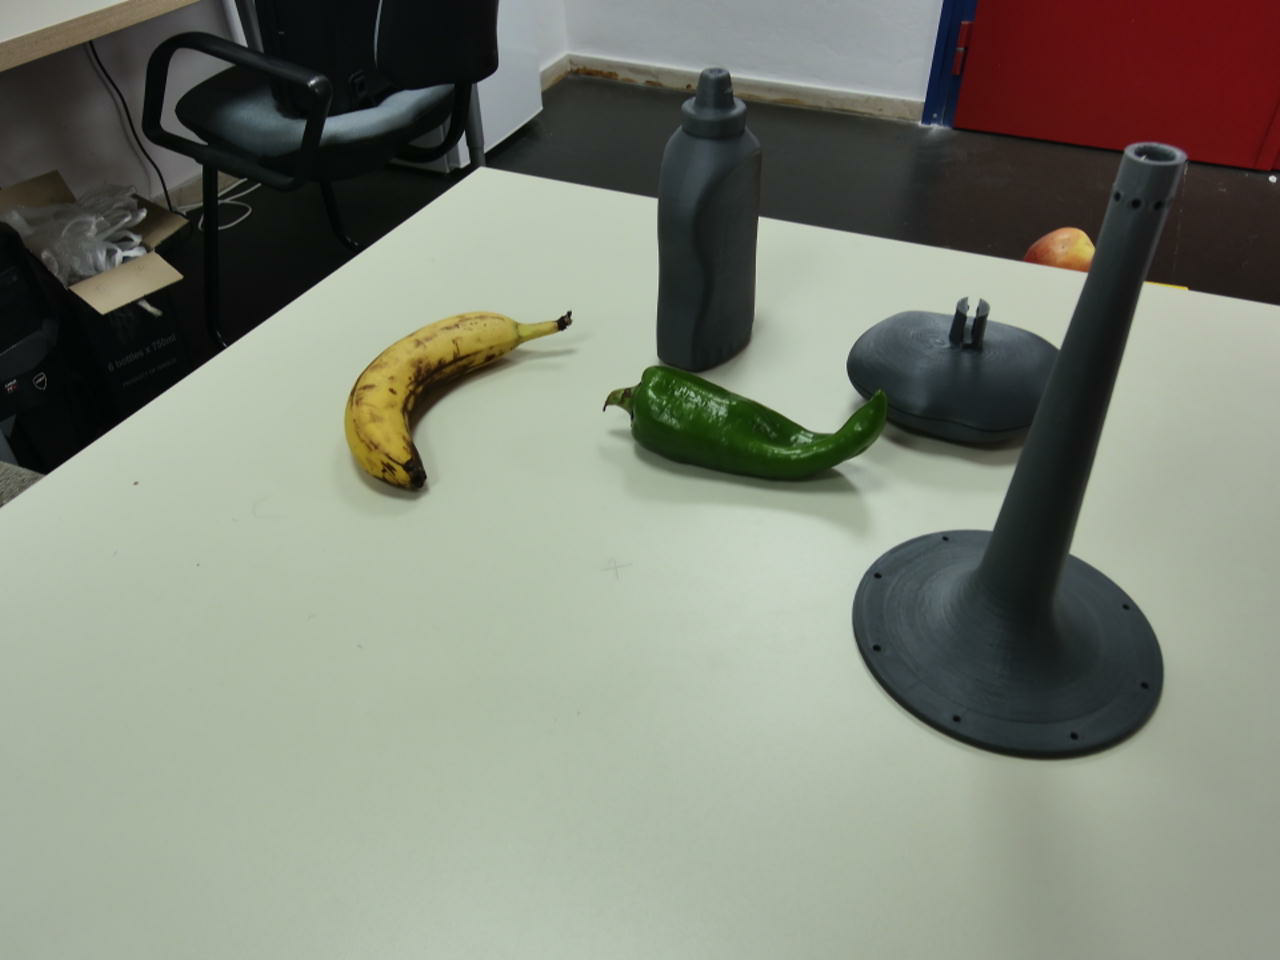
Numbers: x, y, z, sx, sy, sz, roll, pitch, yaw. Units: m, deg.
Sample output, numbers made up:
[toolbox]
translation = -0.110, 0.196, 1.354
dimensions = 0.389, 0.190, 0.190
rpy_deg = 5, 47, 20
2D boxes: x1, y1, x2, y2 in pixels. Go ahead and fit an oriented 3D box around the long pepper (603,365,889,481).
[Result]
[long pepper]
translation = 0.058, -0.038, 0.606
dimensions = 0.175, 0.065, 0.058
rpy_deg = 15, 41, 18
